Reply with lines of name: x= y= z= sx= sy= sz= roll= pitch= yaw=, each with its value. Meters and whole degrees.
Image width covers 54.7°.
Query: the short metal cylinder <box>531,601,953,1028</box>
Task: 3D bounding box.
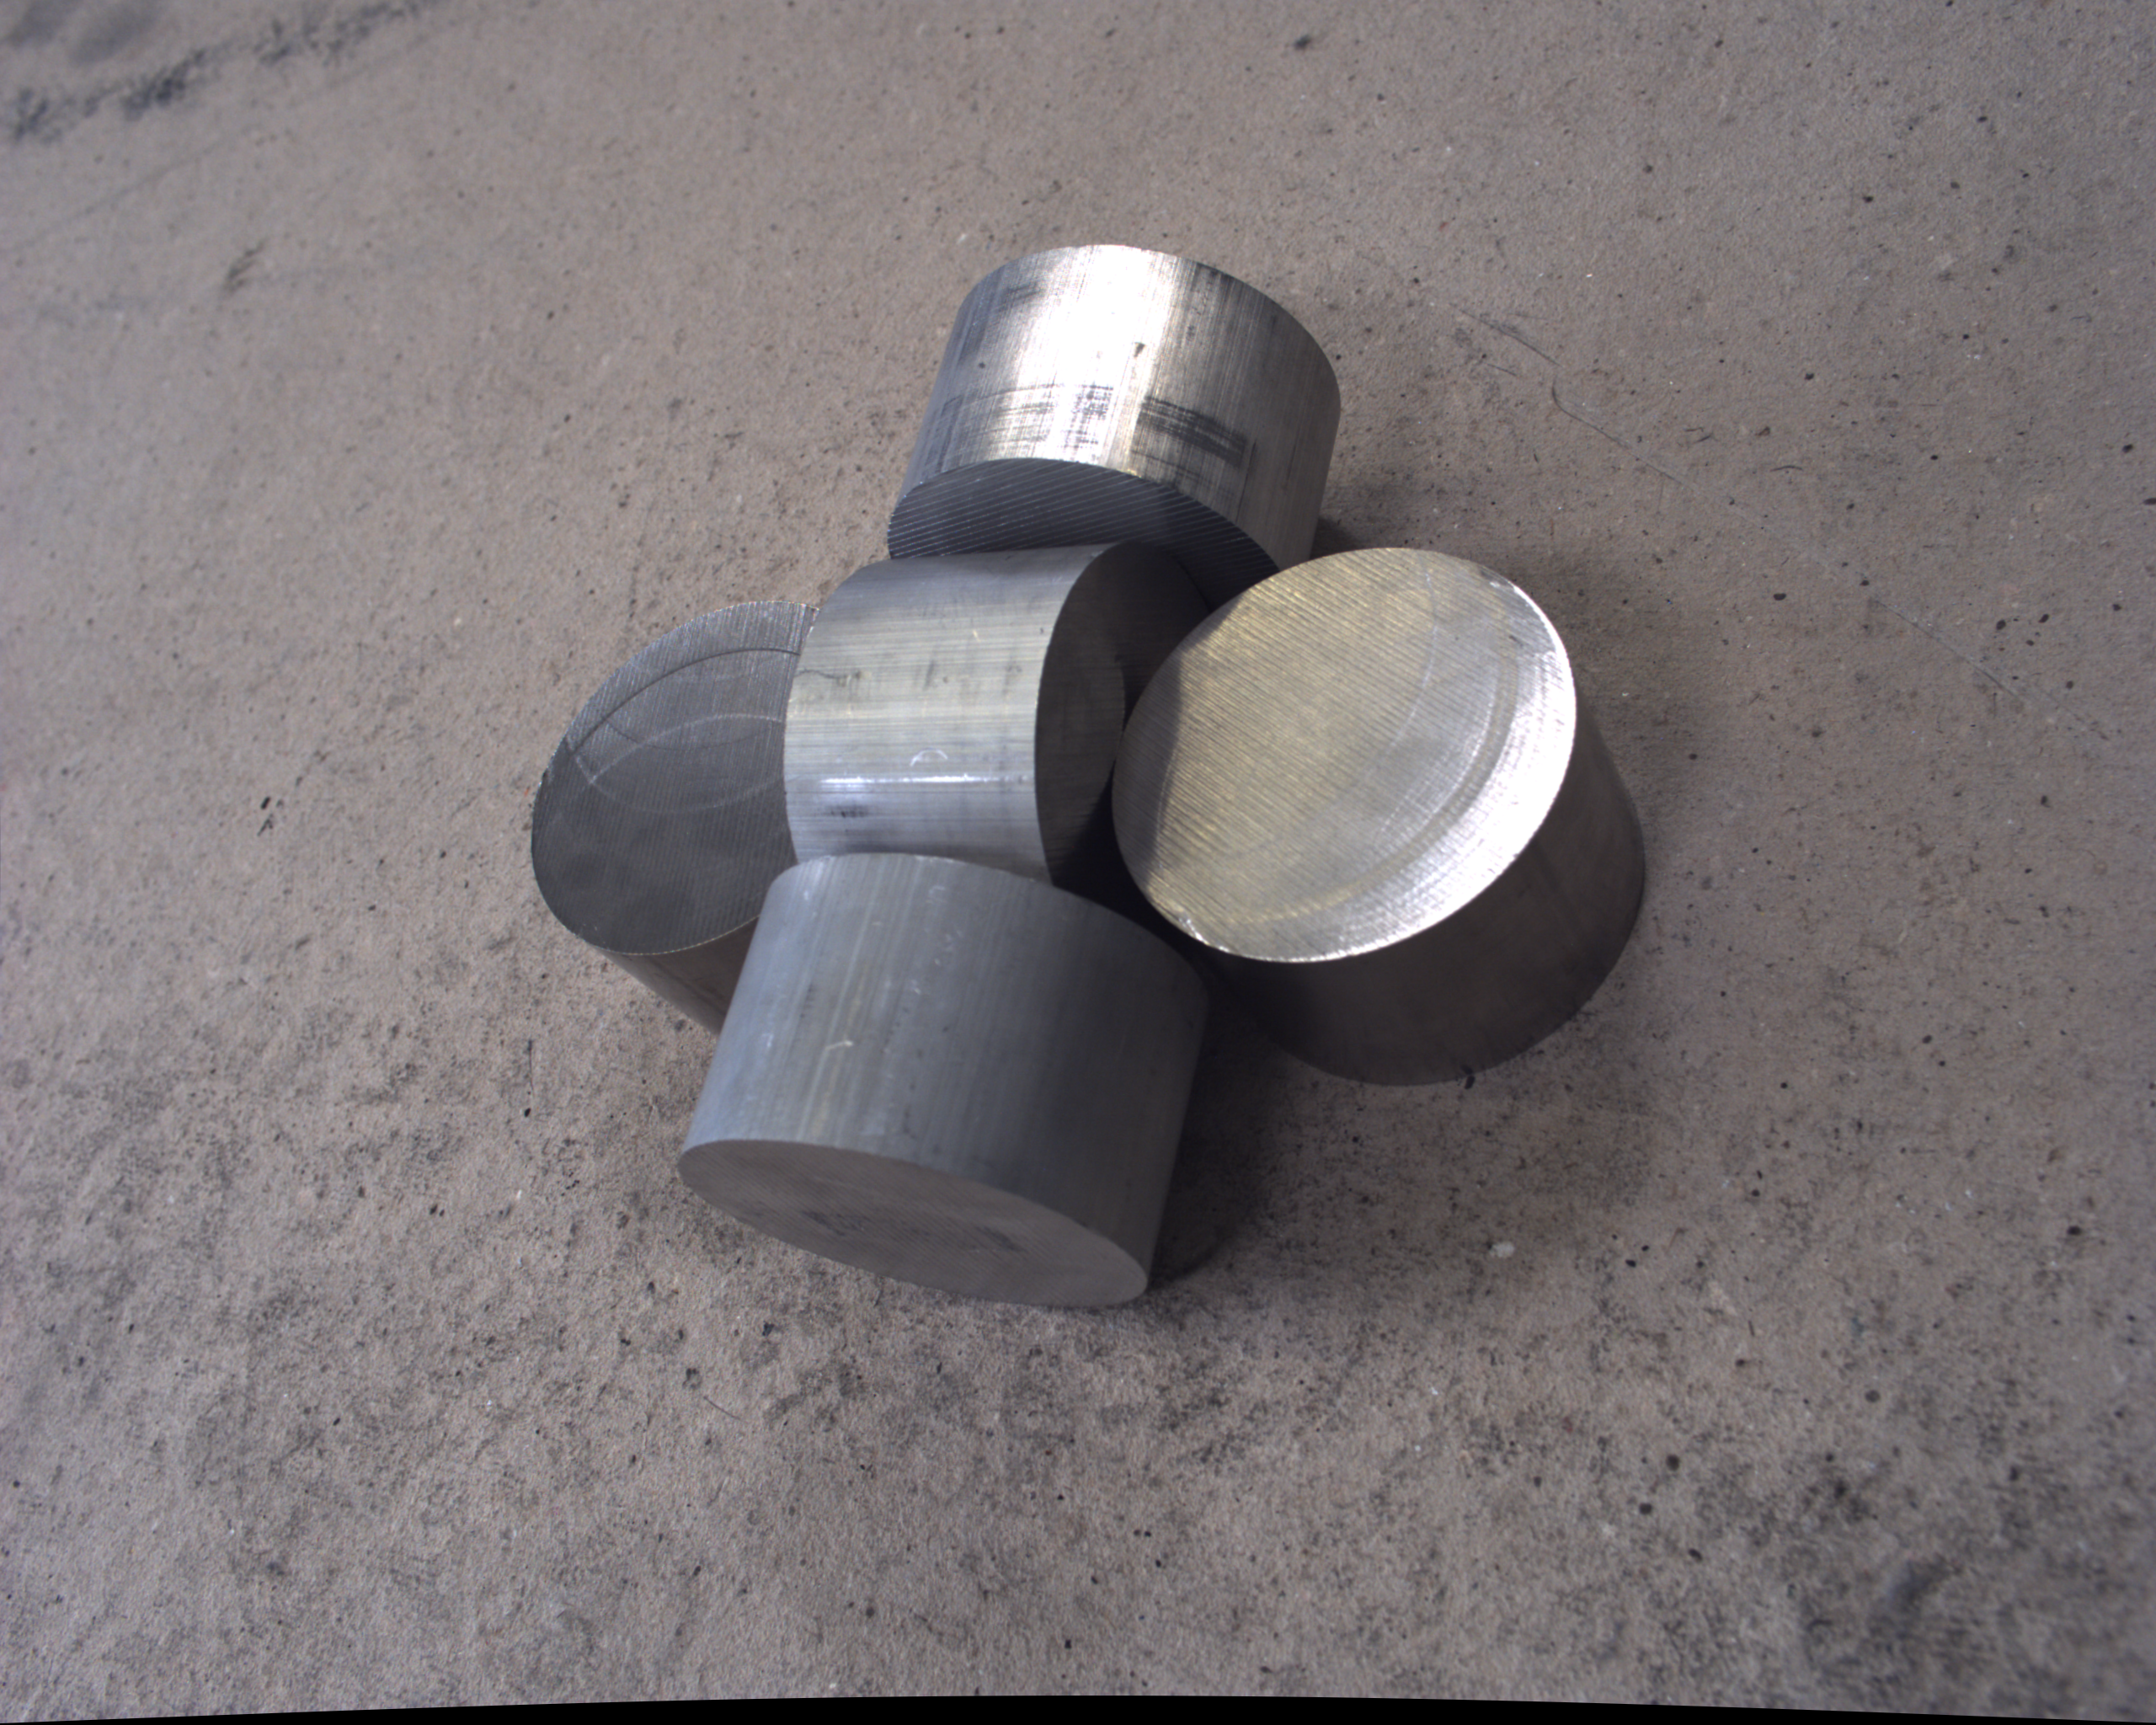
short metal cylinder: x=-0.063 y=-0.006 z=0.427 sx=0.080 sy=0.050 sz=0.080 roll=-13 pitch=56 yaw=20

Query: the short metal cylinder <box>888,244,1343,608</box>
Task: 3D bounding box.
short metal cylinder: x=0.008 y=-0.075 z=0.413 sx=0.080 sy=0.080 sz=0.050 roll=0 pitch=62 yaw=28

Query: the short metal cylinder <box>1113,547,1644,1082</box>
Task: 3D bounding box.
short metal cylinder: x=0.053 y=-0.008 z=0.366 sx=0.080 sy=0.050 sz=0.080 roll=-13 pitch=56 yaw=21

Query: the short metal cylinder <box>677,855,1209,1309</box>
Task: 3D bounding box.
short metal cylinder: x=-0.022 y=0.040 z=0.358 sx=0.080 sy=0.080 sz=0.050 roll=0 pitch=61 yaw=28

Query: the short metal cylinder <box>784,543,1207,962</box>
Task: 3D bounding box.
short metal cylinder: x=-0.010 y=-0.018 z=0.387 sx=0.050 sy=0.080 sz=0.080 roll=0 pitch=62 yaw=29
